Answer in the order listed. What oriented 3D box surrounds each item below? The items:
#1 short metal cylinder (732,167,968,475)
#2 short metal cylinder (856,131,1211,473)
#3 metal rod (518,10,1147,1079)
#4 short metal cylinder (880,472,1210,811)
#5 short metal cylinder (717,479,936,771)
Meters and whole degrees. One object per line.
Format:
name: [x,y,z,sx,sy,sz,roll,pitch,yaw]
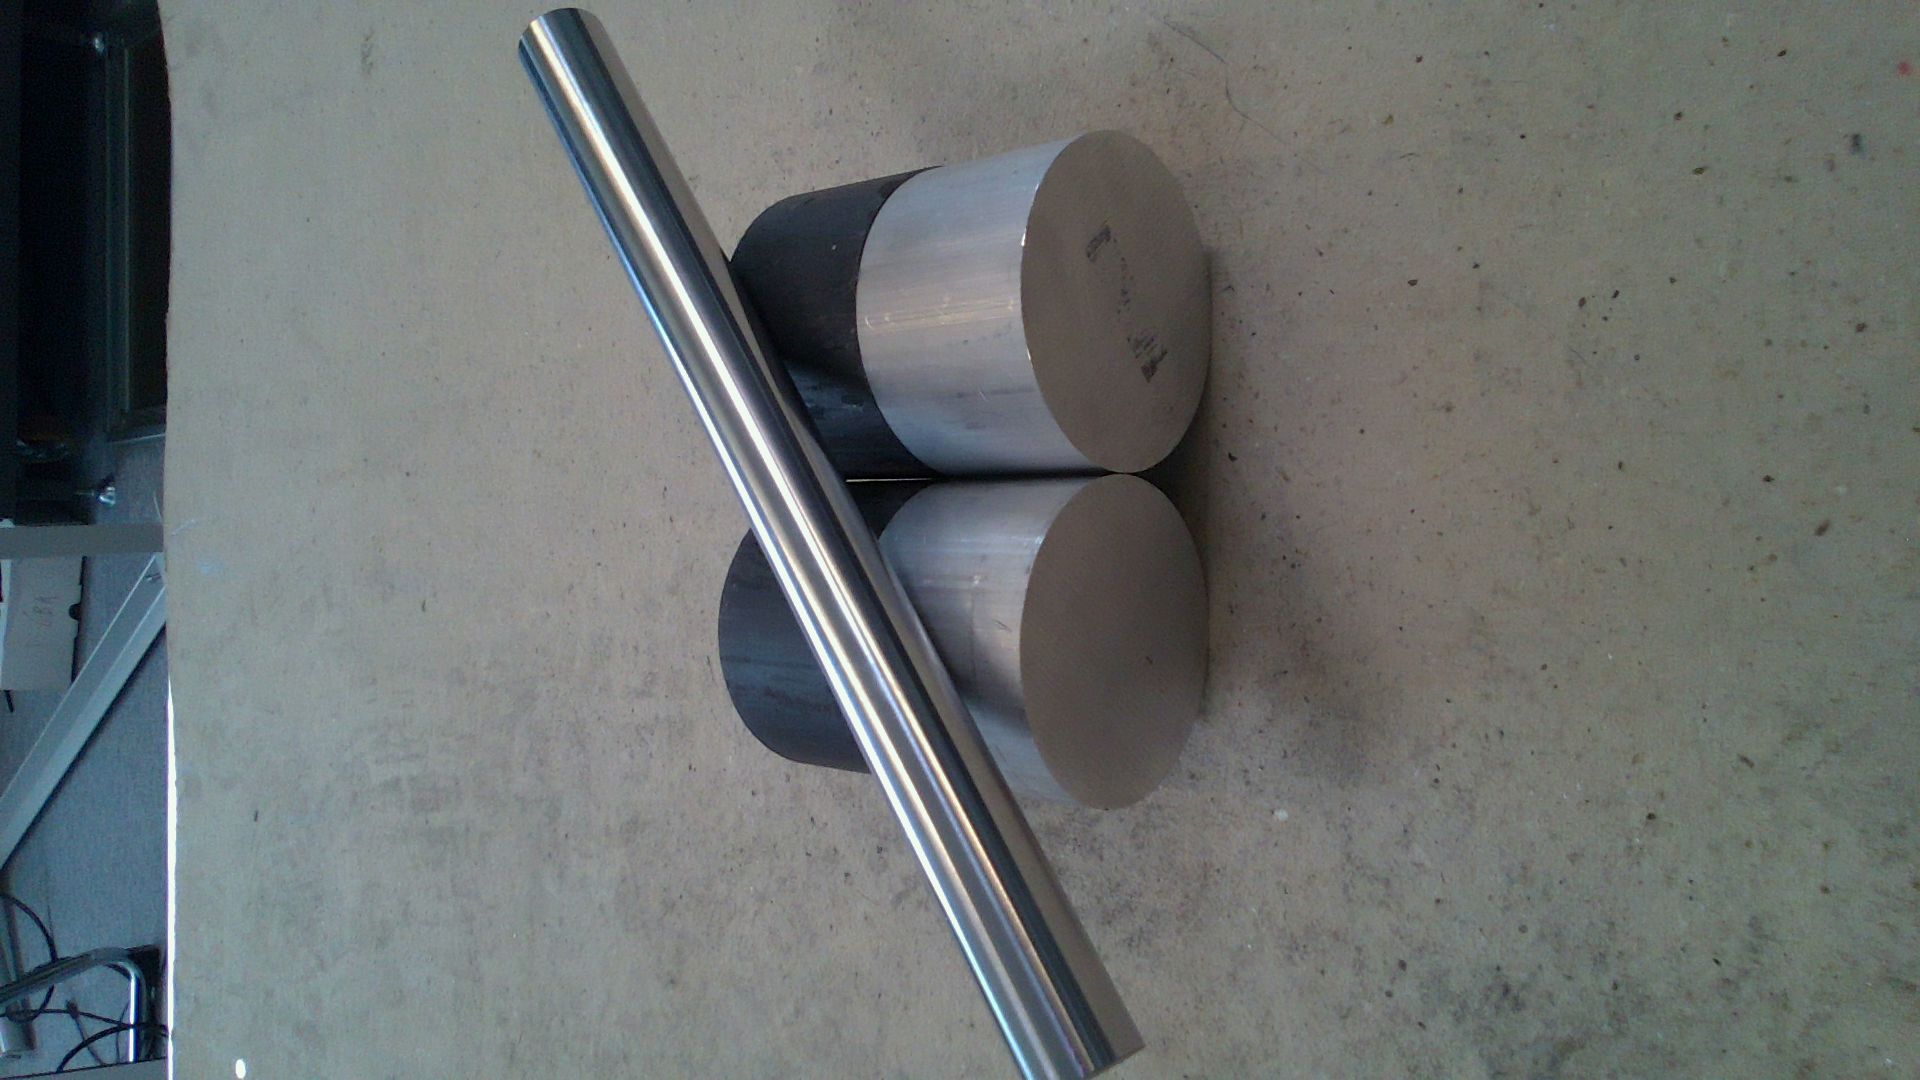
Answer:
short metal cylinder: [-0.018,-0.057,0.374,0.050,0.080,0.080,1,91,40]
short metal cylinder: [0.020,-0.056,0.342,0.050,0.080,0.080,1,91,40]
metal rod: [-0.042,-0.016,0.326,0.025,0.025,0.300,-44,64,31]
short metal cylinder: [0.020,0.024,0.342,0.050,0.080,0.080,1,91,40]
short metal cylinder: [-0.019,0.024,0.375,0.050,0.080,0.080,1,91,40]
